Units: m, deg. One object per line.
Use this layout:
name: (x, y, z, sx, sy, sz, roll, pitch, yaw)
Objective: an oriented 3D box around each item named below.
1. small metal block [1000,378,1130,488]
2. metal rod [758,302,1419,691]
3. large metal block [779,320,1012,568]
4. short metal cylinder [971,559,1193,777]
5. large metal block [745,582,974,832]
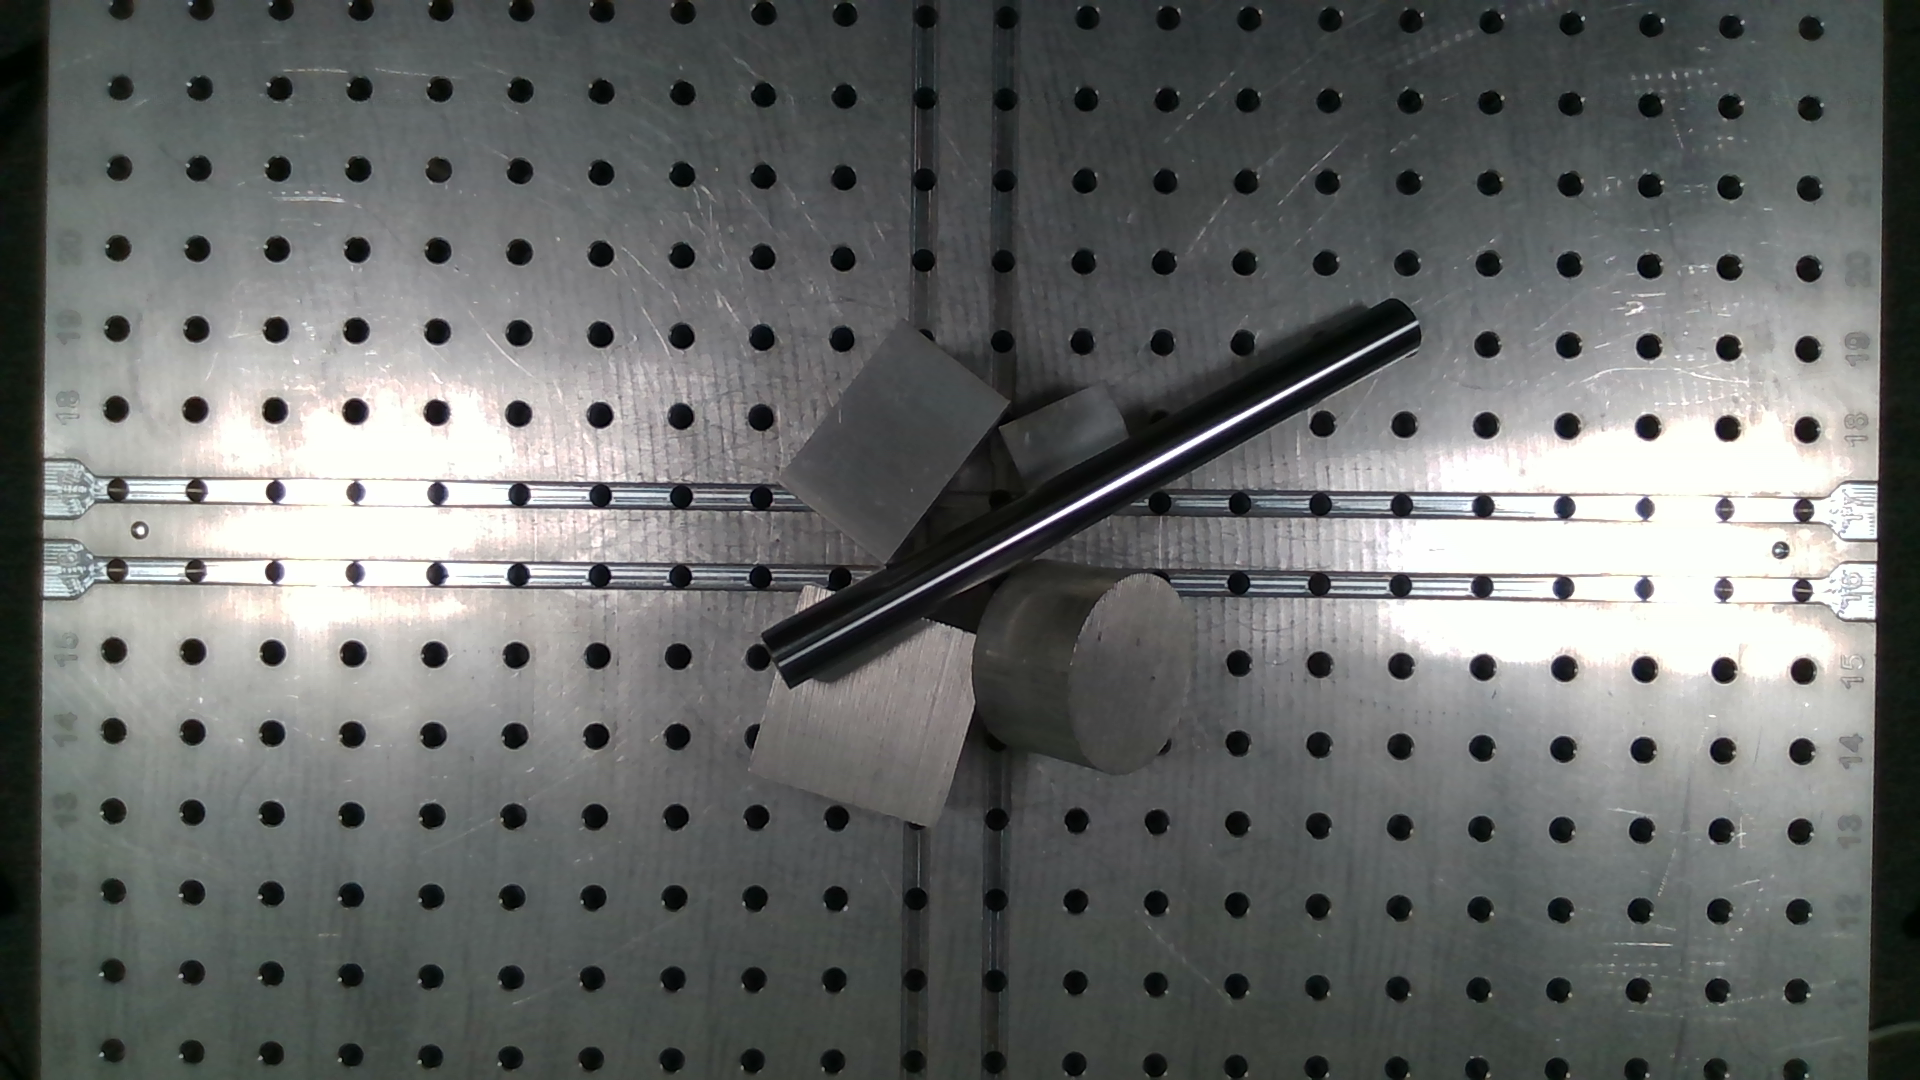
small metal block: (0.049, -0.035, 0.589, 0.050, 0.025, 0.050, -24, 90, 0)
metal rod: (0.058, -0.021, 0.559, 0.300, 0.025, 0.025, -28, 90, -11)
large metal block: (-0.025, -0.036, 0.561, 0.050, 0.080, 0.080, 37, 90, 0)
short metal cylinder: (0.050, 0.050, 0.556, 0.050, 0.080, 0.080, 9, 90, 43)
large metal block: (-0.036, 0.067, 0.577, 0.080, 0.050, 0.080, 17, 90, 0)
